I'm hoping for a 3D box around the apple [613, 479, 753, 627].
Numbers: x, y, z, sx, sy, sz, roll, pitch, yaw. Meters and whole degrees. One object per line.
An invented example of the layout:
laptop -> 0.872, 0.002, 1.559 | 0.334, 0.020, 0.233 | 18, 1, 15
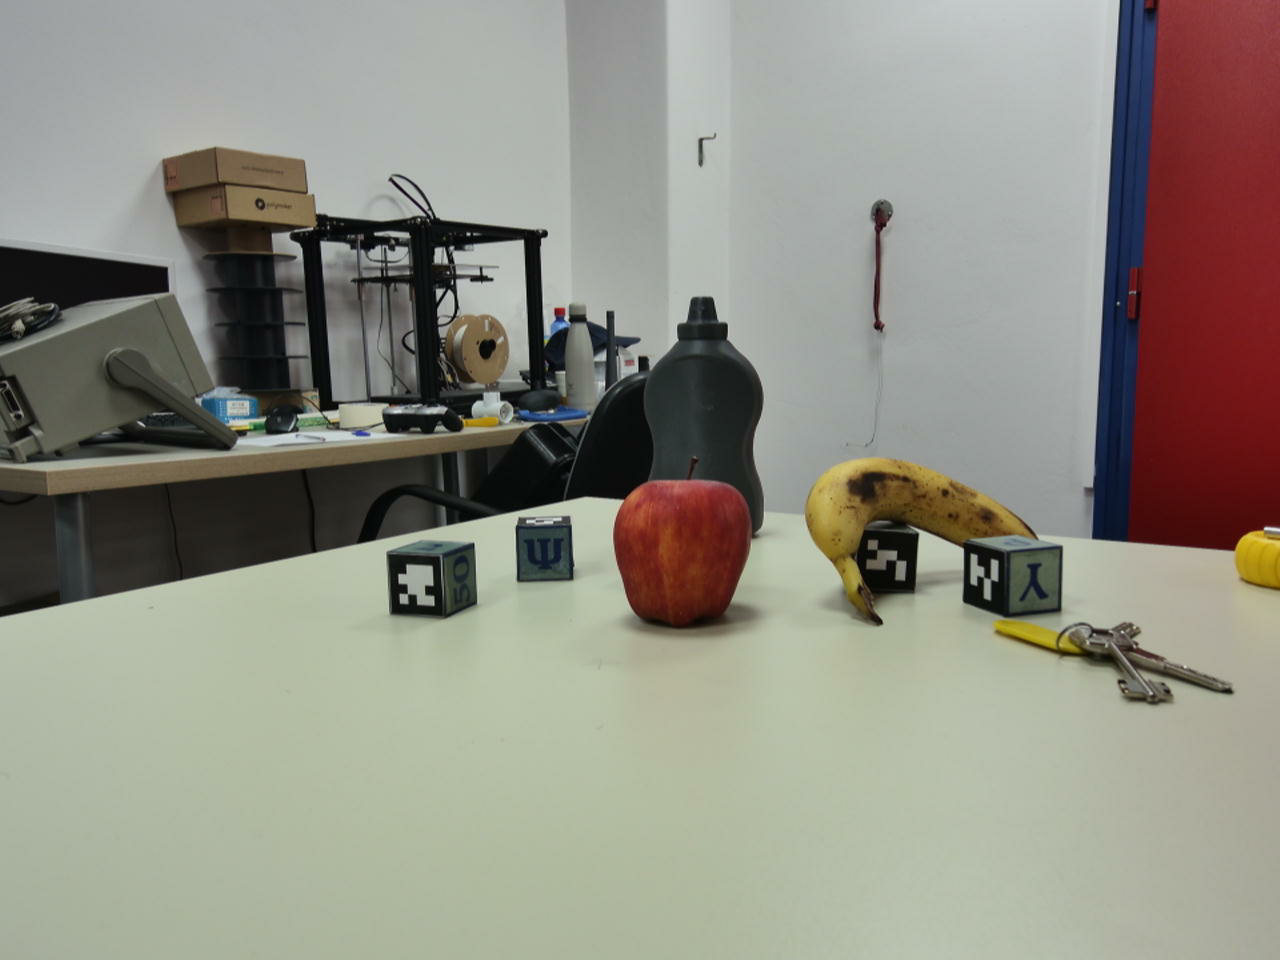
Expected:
apple -> 0.025, 0.033, 0.563 | 0.083, 0.090, 0.083 | 2, 6, 0
